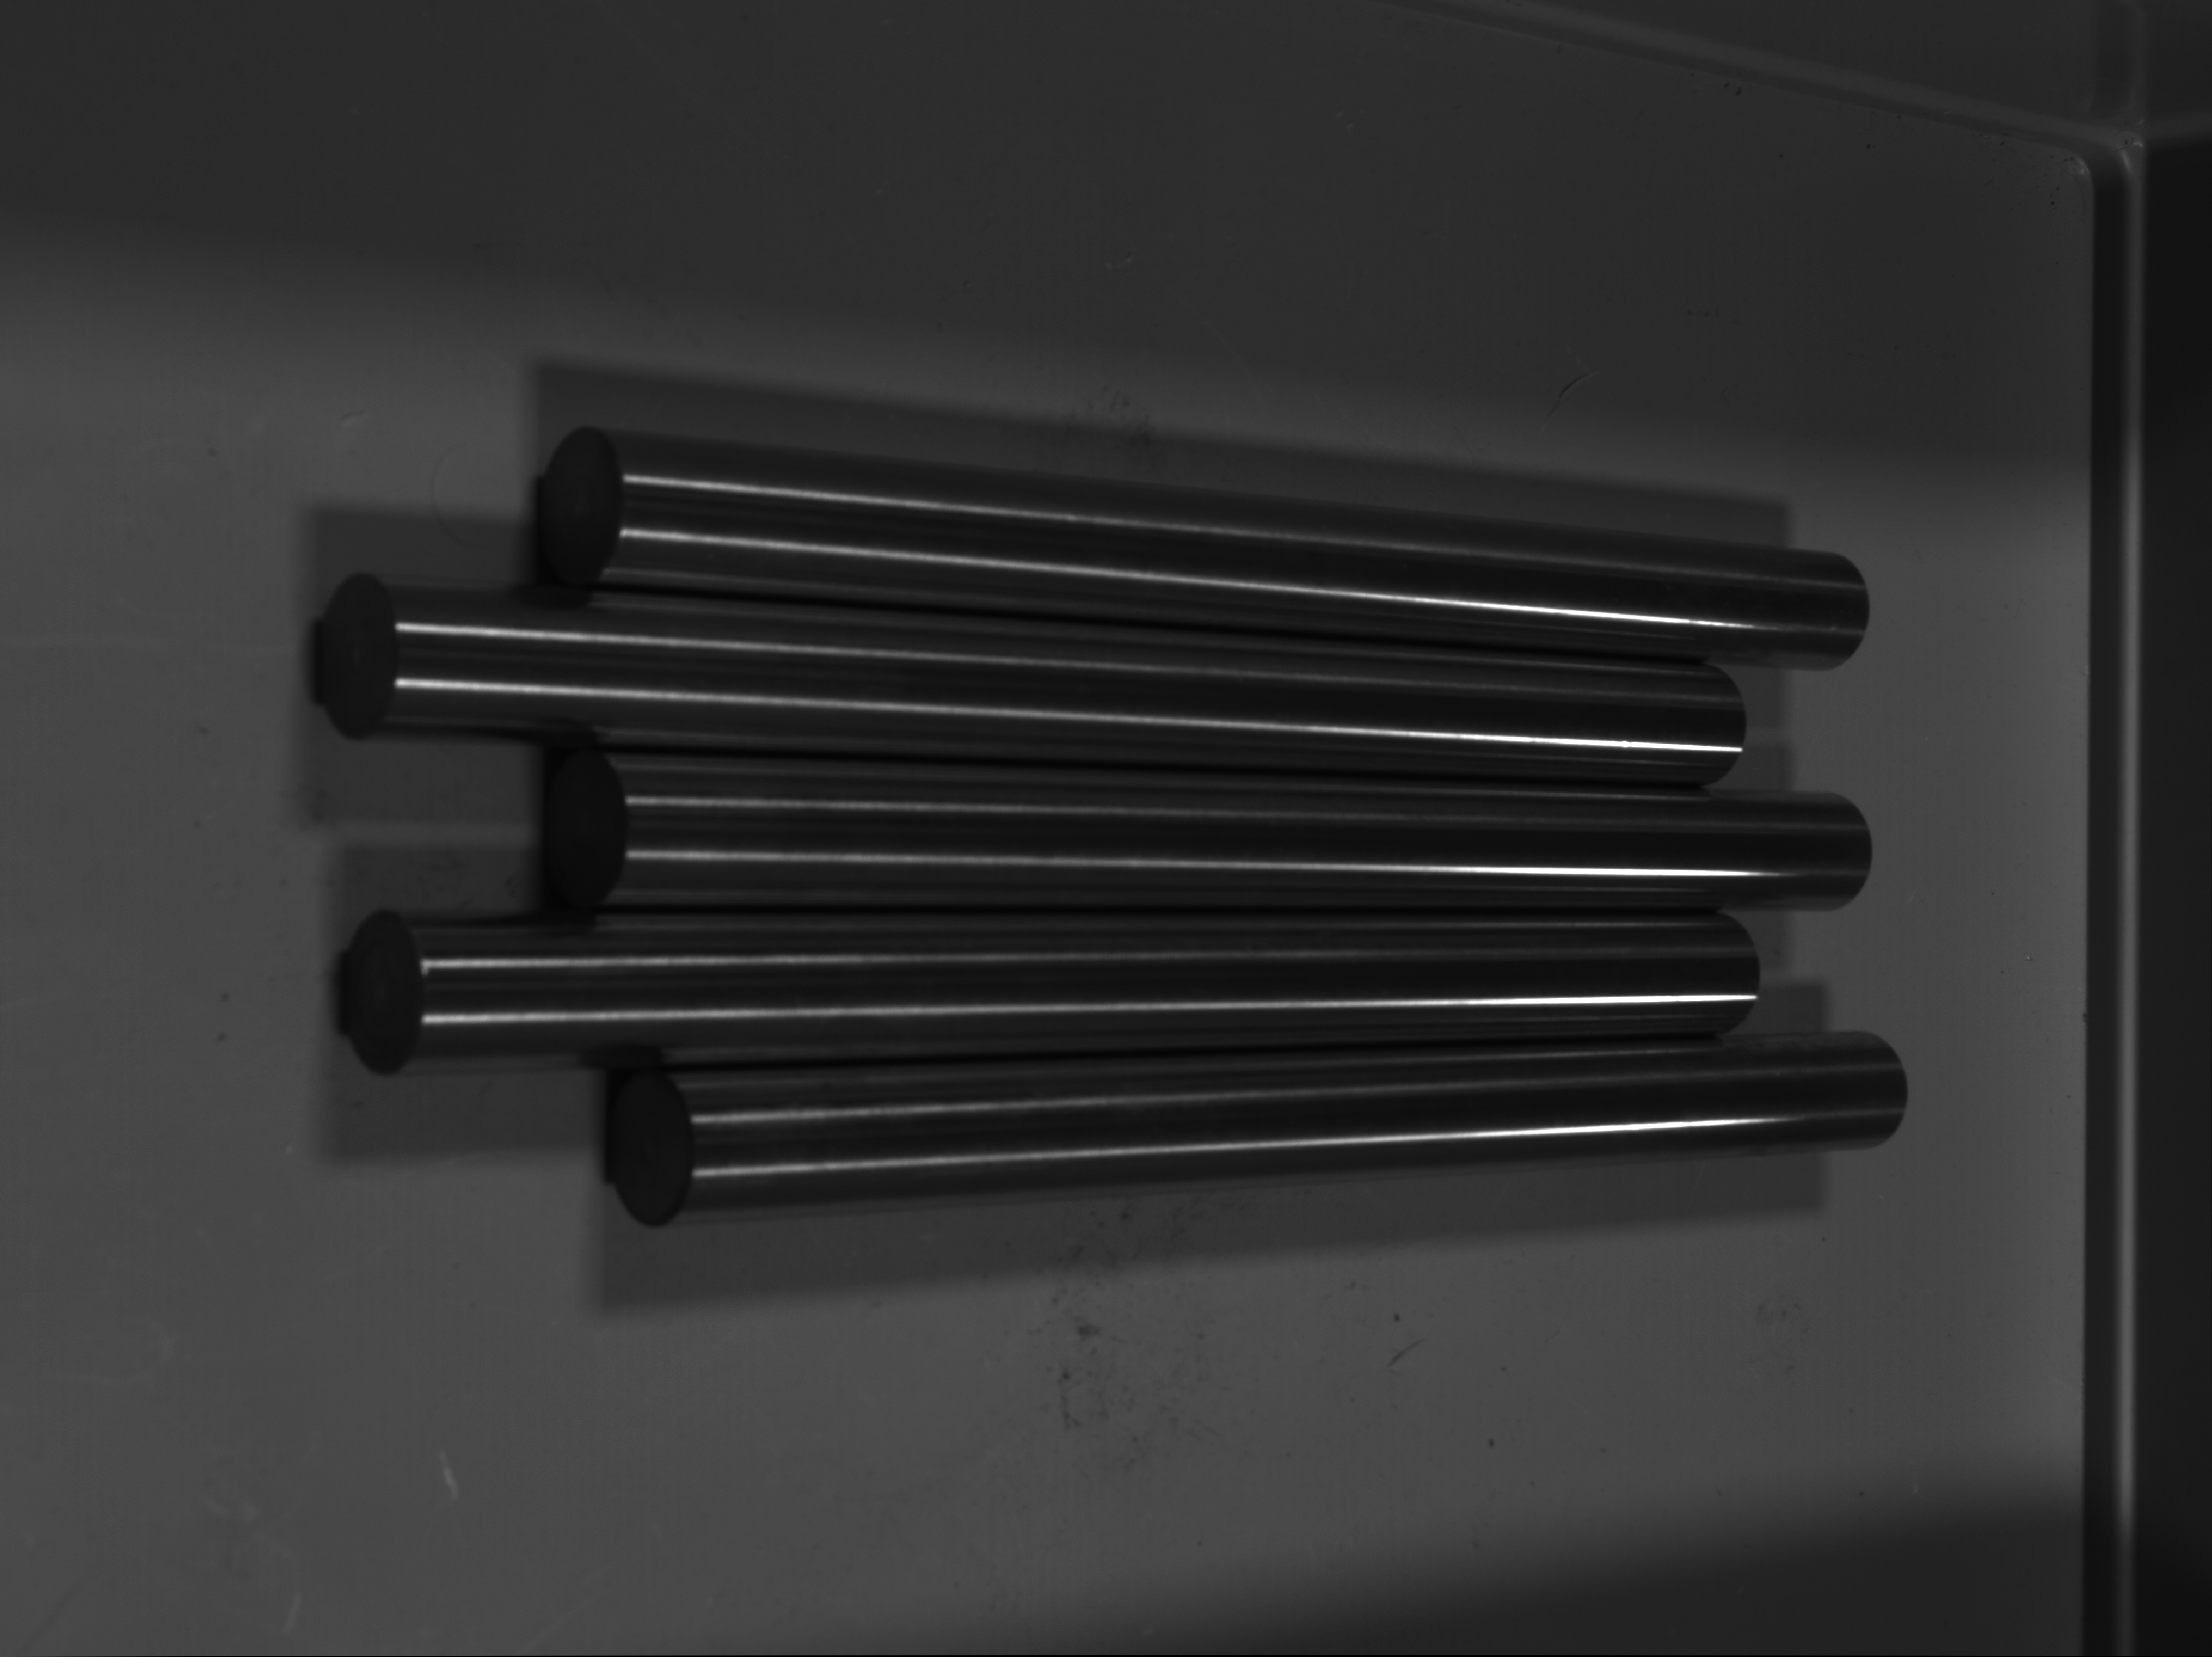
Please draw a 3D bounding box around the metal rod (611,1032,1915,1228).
[{"bbox_3d":[0.044,0.053,0.673,0.301,0.025,0.025,1,89,-40],"label":"metal rod"}]

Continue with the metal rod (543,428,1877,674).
[{"bbox_3d":[0.035,-0.047,0.665,0.301,0.025,0.025,1,89,-40],"label":"metal rod"}]

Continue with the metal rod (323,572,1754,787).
[{"bbox_3d":[0.005,-0.023,0.640,0.301,0.025,0.025,1,89,-40],"label":"metal rod"}]

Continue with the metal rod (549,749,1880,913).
[{"bbox_3d":[0.035,0.003,0.666,0.301,0.025,0.025,1,89,-40],"label":"metal rod"}]

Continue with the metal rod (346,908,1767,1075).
[{"bbox_3d":[0.008,0.027,0.643,0.301,0.025,0.025,1,89,-40],"label":"metal rod"}]
